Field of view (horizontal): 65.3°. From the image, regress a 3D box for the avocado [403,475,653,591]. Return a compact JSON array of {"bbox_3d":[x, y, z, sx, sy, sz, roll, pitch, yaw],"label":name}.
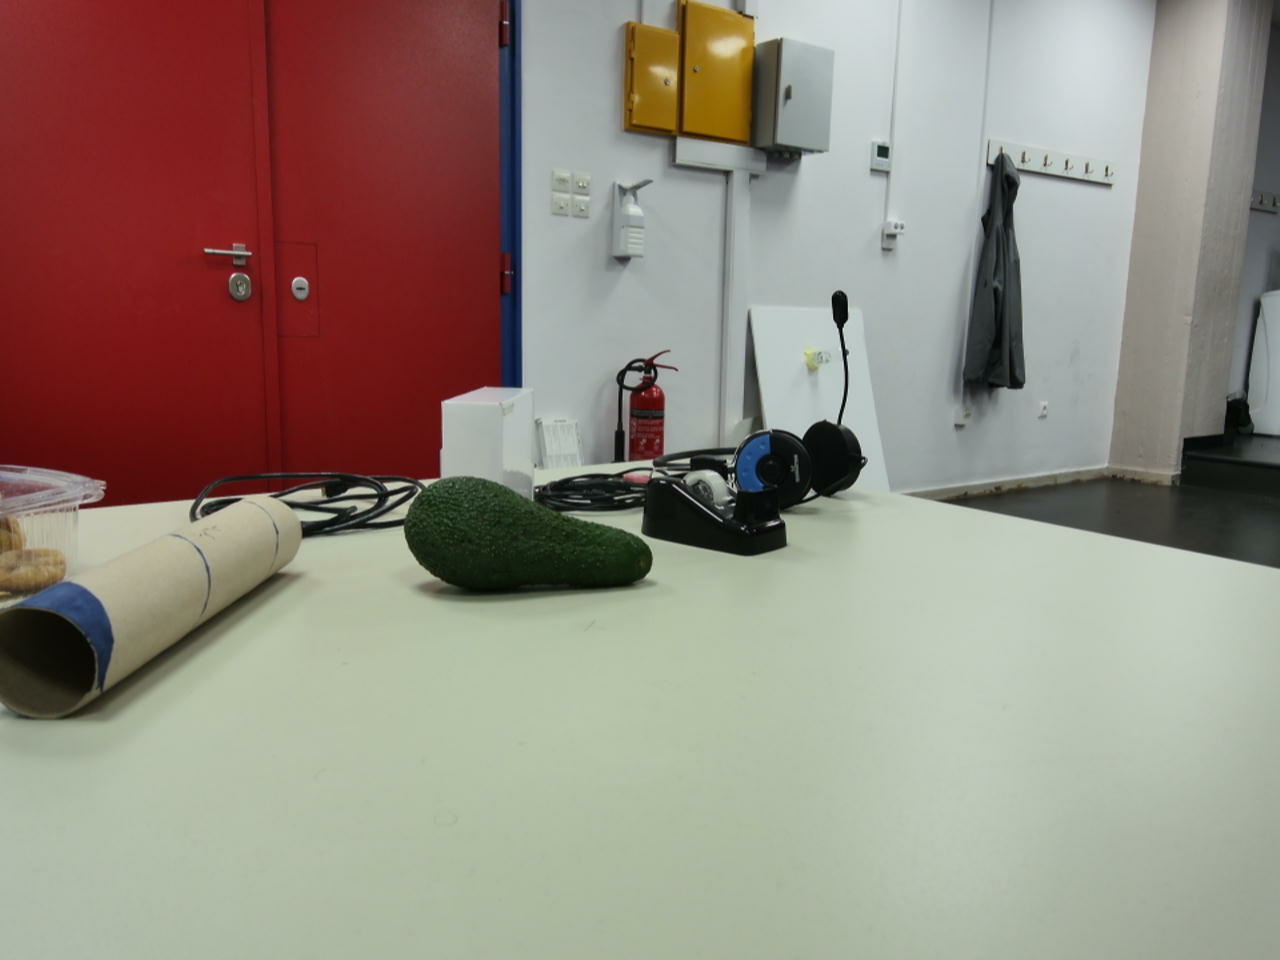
[{"bbox_3d":[-0.065,0.029,0.580,0.141,0.067,0.063,-3,8,-21],"label":"avocado"}]
